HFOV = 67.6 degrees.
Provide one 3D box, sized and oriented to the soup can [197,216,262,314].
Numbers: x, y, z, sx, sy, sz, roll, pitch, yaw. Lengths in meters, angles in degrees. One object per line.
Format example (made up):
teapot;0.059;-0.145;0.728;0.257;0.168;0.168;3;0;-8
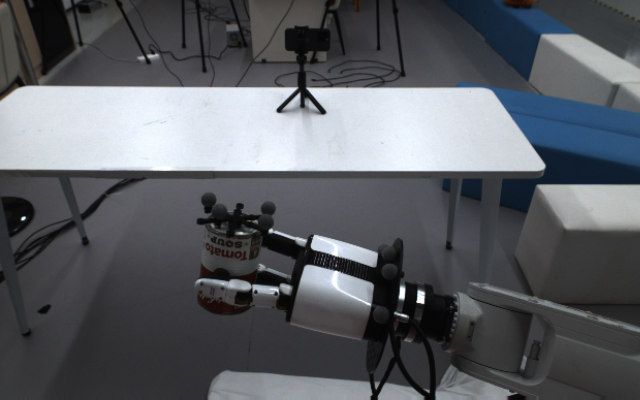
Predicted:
soup can;-0.102;0.072;0.565;0.067;0.101;0.067;9;20;-3
